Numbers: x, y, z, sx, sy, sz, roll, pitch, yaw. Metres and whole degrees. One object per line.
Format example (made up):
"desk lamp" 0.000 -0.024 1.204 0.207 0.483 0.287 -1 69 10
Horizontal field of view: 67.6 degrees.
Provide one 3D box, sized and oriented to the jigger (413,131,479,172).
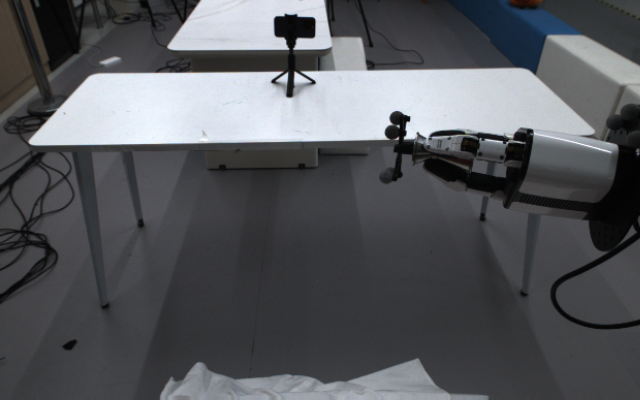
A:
"jigger" 0.152 -0.059 0.571 0.071 0.043 0.043 8 35 14
